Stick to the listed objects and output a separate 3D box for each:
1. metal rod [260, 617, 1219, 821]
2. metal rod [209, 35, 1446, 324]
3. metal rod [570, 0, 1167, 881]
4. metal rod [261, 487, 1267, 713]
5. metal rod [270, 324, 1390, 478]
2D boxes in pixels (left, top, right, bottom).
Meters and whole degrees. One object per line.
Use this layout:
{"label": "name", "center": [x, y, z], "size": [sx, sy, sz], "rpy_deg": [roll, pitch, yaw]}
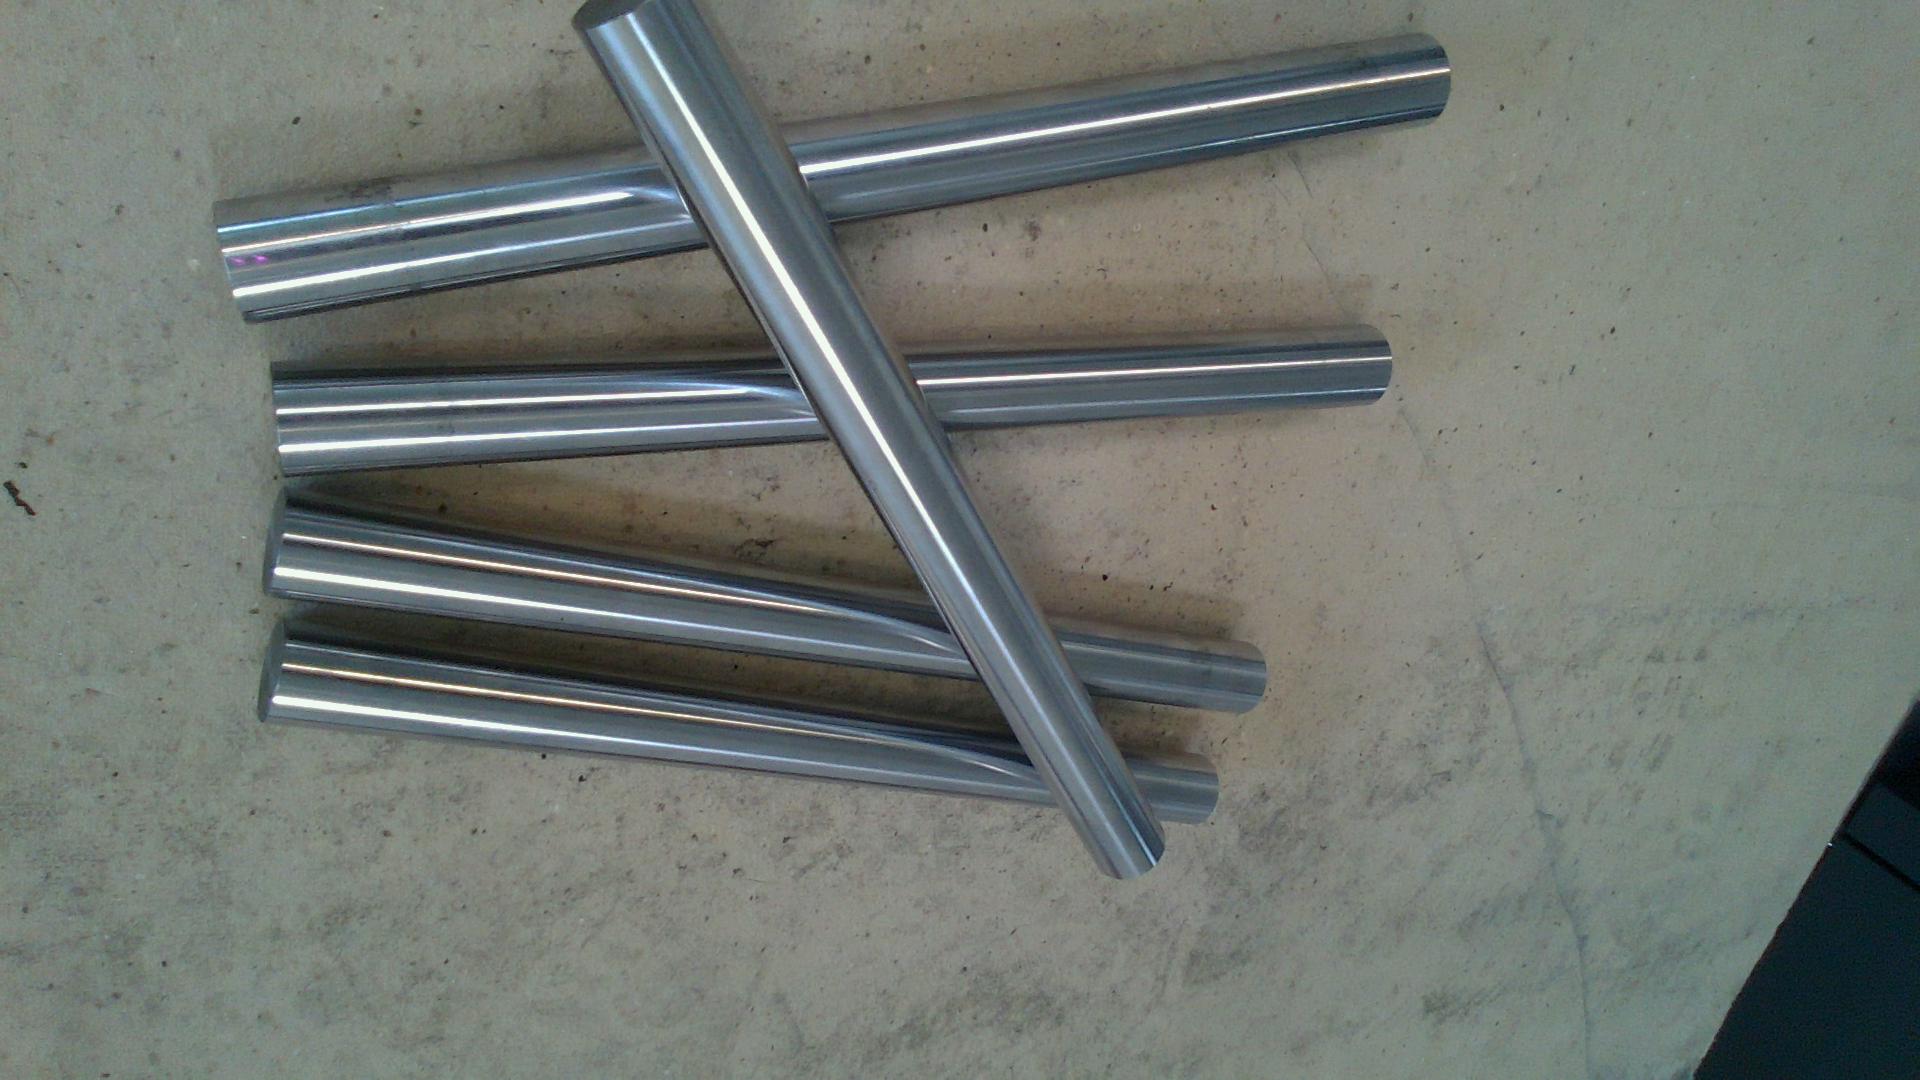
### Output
{"label": "metal rod", "center": [-0.039, 0.059, 0.404], "size": [0.301, 0.025, 0.025], "rpy_deg": [13, 112, -34]}
{"label": "metal rod", "center": [-0.010, -0.091, 0.329], "size": [0.301, 0.025, 0.025], "rpy_deg": [-15, 124, -20]}
{"label": "metal rod", "center": [-0.004, -0.002, 0.354], "size": [0.025, 0.025, 0.301], "rpy_deg": [-35, 129, -5]}
{"label": "metal rod", "center": [-0.029, 0.024, 0.388], "size": [0.301, 0.025, 0.025], "rpy_deg": [11, 113, -33]}
{"label": "metal rod", "center": [-0.011, -0.040, 0.359], "size": [0.301, 0.025, 0.025], "rpy_deg": [-6, 121, -26]}
